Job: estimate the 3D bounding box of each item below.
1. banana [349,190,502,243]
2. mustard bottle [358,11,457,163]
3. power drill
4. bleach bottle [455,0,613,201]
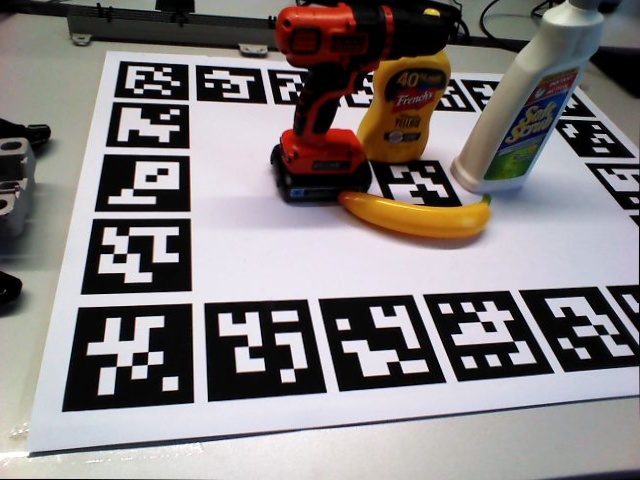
[{"bbox_3d":[0.133,-0.030,0.601,0.197,0.039,0.074,0,52,-10],"label":"banana"},{"bbox_3d":[0.115,-0.185,0.639,0.096,0.192,0.058,0,47,-14],"label":"mustard bottle"},{"bbox_3d":[0.030,-0.151,0.562,0.184,0.188,0.057,-2,41,-18],"label":"power drill"},{"bbox_3d":[0.255,-0.159,0.616,0.102,0.252,0.067,-8,51,-19],"label":"bleach bottle"}]
